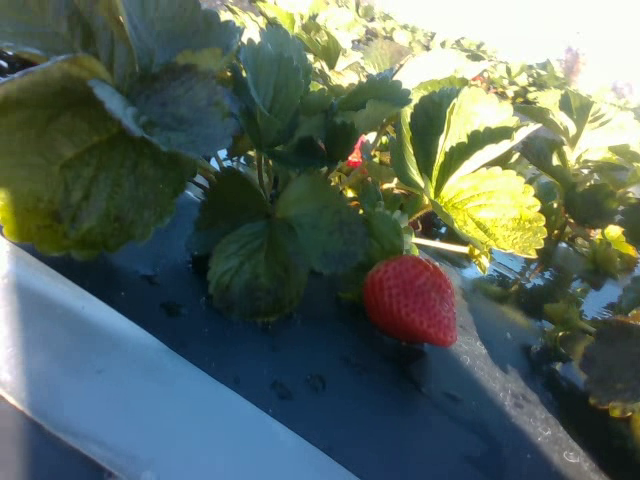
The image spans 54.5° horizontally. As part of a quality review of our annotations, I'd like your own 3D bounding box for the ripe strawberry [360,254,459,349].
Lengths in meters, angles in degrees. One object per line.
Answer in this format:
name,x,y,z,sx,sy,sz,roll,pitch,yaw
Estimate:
ripe strawberry,0.042,0.027,0.255,0.045,0.042,0.059,-22,41,-3
